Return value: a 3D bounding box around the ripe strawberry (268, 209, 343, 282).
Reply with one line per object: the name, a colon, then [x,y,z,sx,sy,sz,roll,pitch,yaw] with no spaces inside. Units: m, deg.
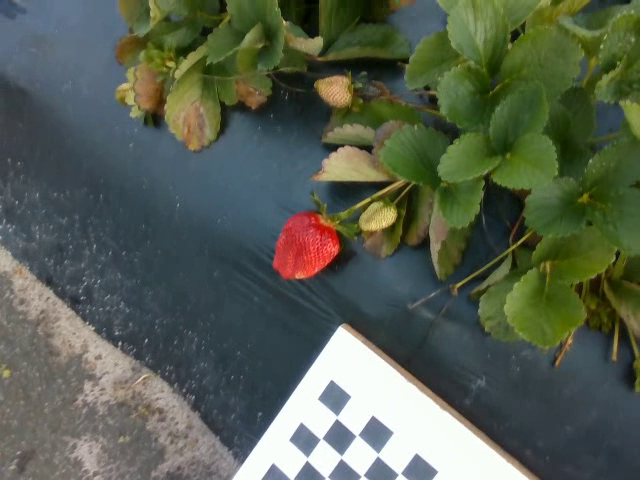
ripe strawberry: [-0.019,0.005,0.624,0.067,0.075,0.039,42,11,20]
